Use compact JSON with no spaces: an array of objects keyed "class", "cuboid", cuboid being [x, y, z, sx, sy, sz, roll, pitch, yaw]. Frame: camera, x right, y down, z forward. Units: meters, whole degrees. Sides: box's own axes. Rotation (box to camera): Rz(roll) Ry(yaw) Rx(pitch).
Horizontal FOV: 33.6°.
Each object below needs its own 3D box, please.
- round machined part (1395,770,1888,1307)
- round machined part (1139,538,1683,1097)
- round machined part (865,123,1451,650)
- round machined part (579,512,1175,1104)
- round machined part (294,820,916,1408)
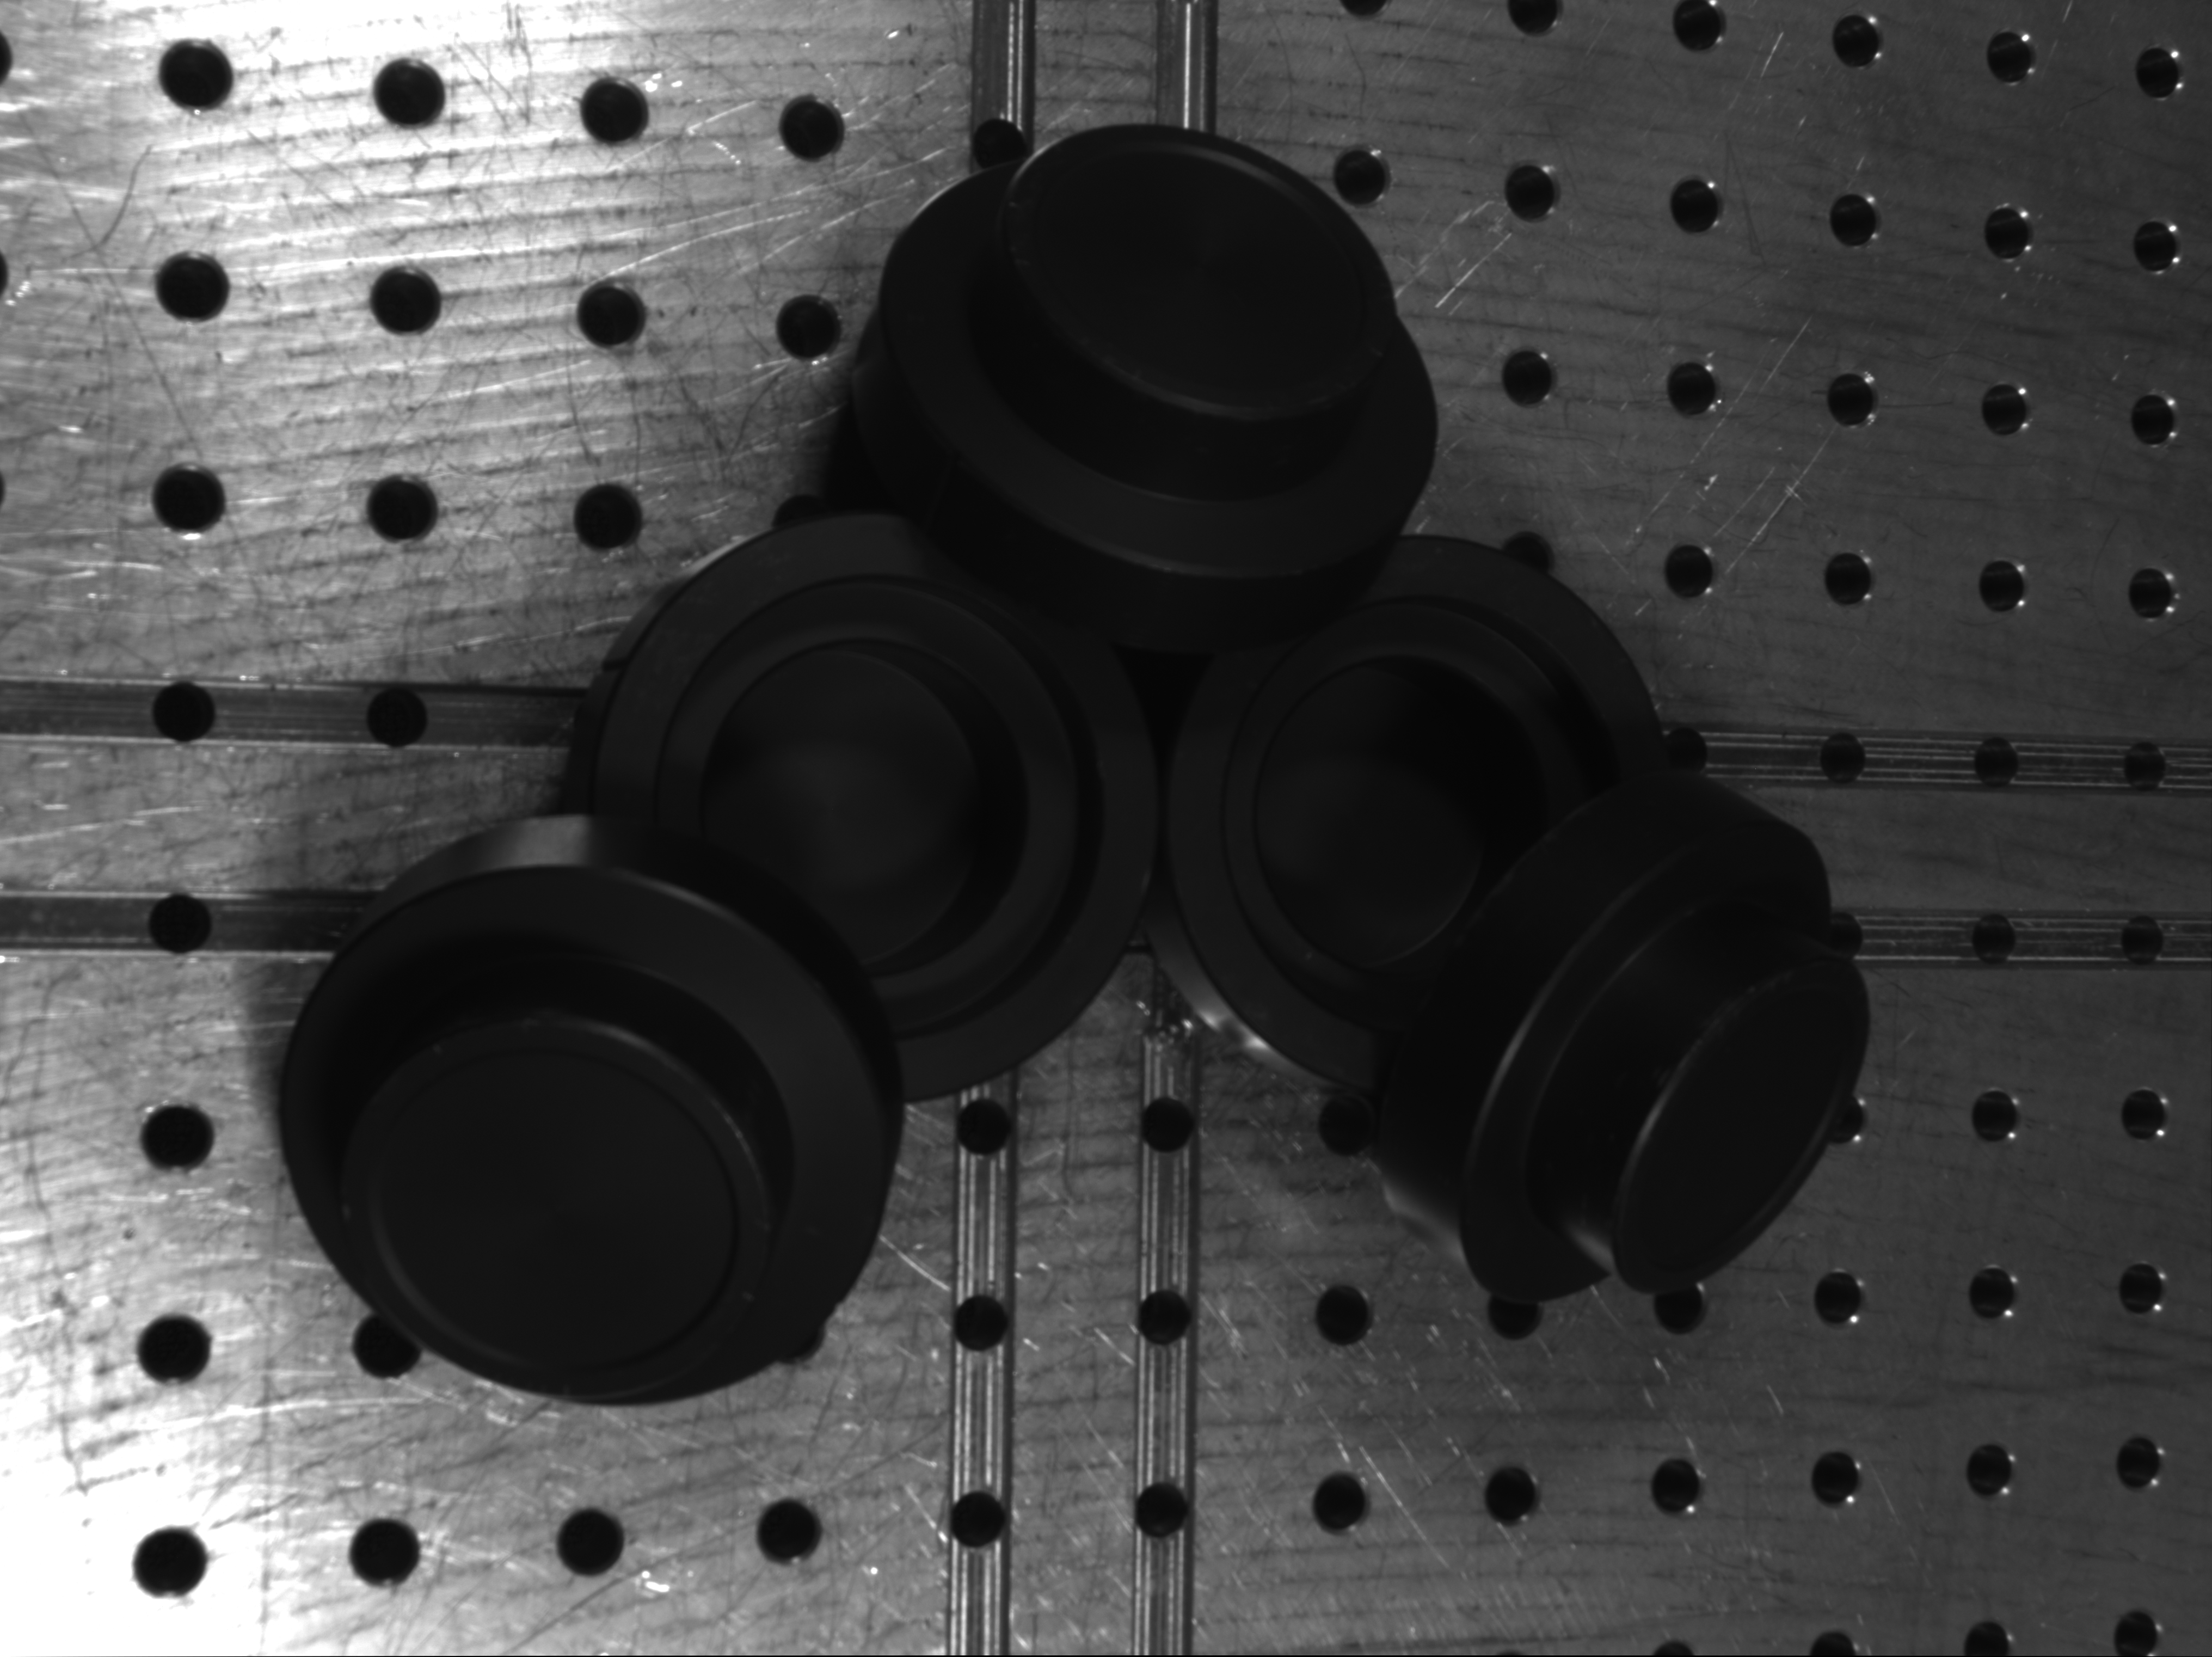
[{"class":"round machined part","cuboid":[0.100,0.043,0.644,0.098,0.042,0.098,-28,135,-32]},{"class":"round machined part","cuboid":[0.051,-0.002,0.655,0.098,0.042,0.098,0,90,-20]},{"class":"round machined part","cuboid":[0.012,-0.080,0.614,0.098,0.042,0.098,10,49,-12]},{"class":"round machined part","cuboid":[-0.041,-0.003,0.621,0.098,0.042,0.098,0,90,-20]},{"class":"round machined part","cuboid":[-0.081,0.051,0.583,0.098,0.042,0.098,2,114,4]}]
